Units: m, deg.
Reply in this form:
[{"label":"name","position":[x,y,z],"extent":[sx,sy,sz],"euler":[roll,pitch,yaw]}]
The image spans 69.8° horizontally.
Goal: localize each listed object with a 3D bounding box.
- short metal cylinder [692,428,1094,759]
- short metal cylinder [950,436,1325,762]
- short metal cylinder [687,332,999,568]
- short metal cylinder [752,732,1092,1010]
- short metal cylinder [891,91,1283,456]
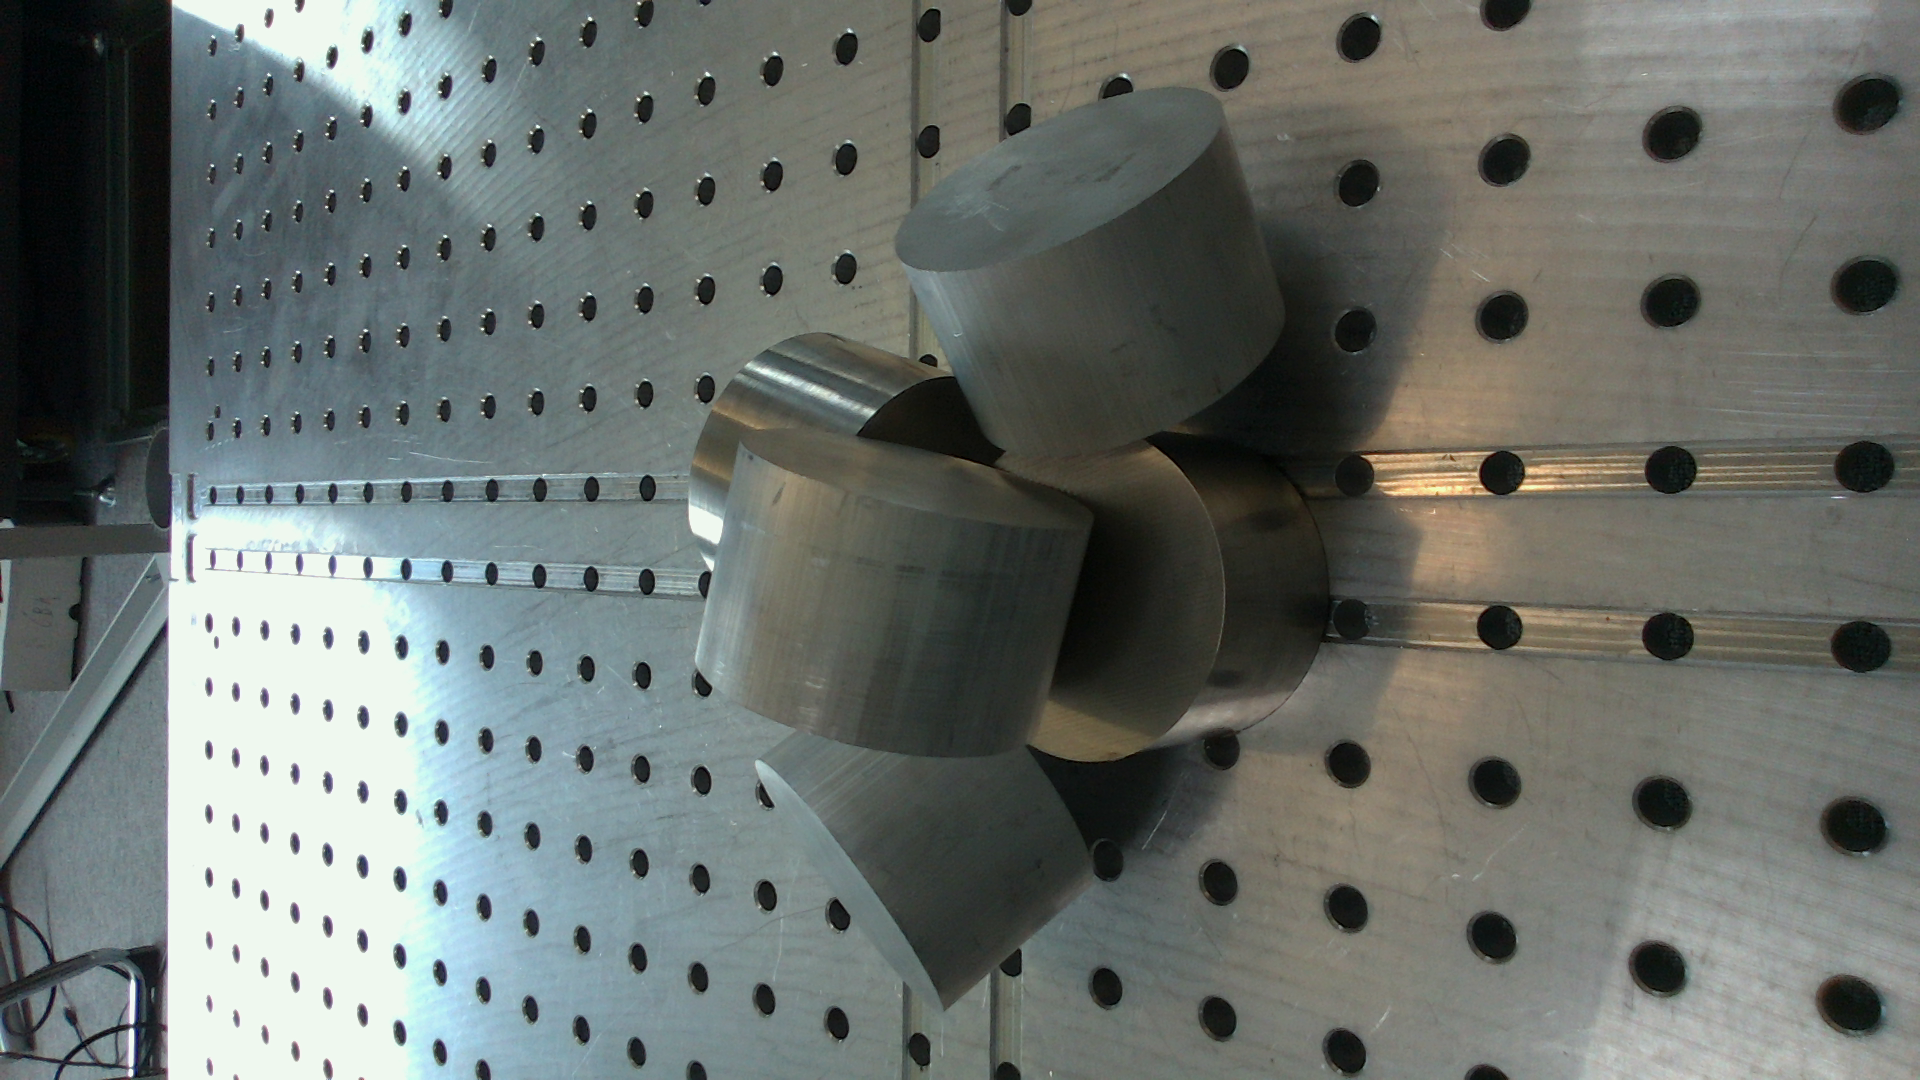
[{"label":"short metal cylinder","position":[-0.015,0.009,0.308],"extent":[0.080,0.080,0.050],"euler":[22,104,38]},{"label":"short metal cylinder","position":[0.043,0.013,0.344],"extent":[0.080,0.050,0.080],"euler":[-1,88,41]},{"label":"short metal cylinder","position":[-0.028,-0.013,0.386],"extent":[0.050,0.080,0.080],"euler":[24,105,38]},{"label":"short metal cylinder","position":[-0.011,0.075,0.363],"extent":[0.080,0.050,0.080],"euler":[46,160,22]},{"label":"short metal cylinder","position":[0.030,-0.064,0.327],"extent":[0.080,0.080,0.050],"euler":[3,131,40]}]
